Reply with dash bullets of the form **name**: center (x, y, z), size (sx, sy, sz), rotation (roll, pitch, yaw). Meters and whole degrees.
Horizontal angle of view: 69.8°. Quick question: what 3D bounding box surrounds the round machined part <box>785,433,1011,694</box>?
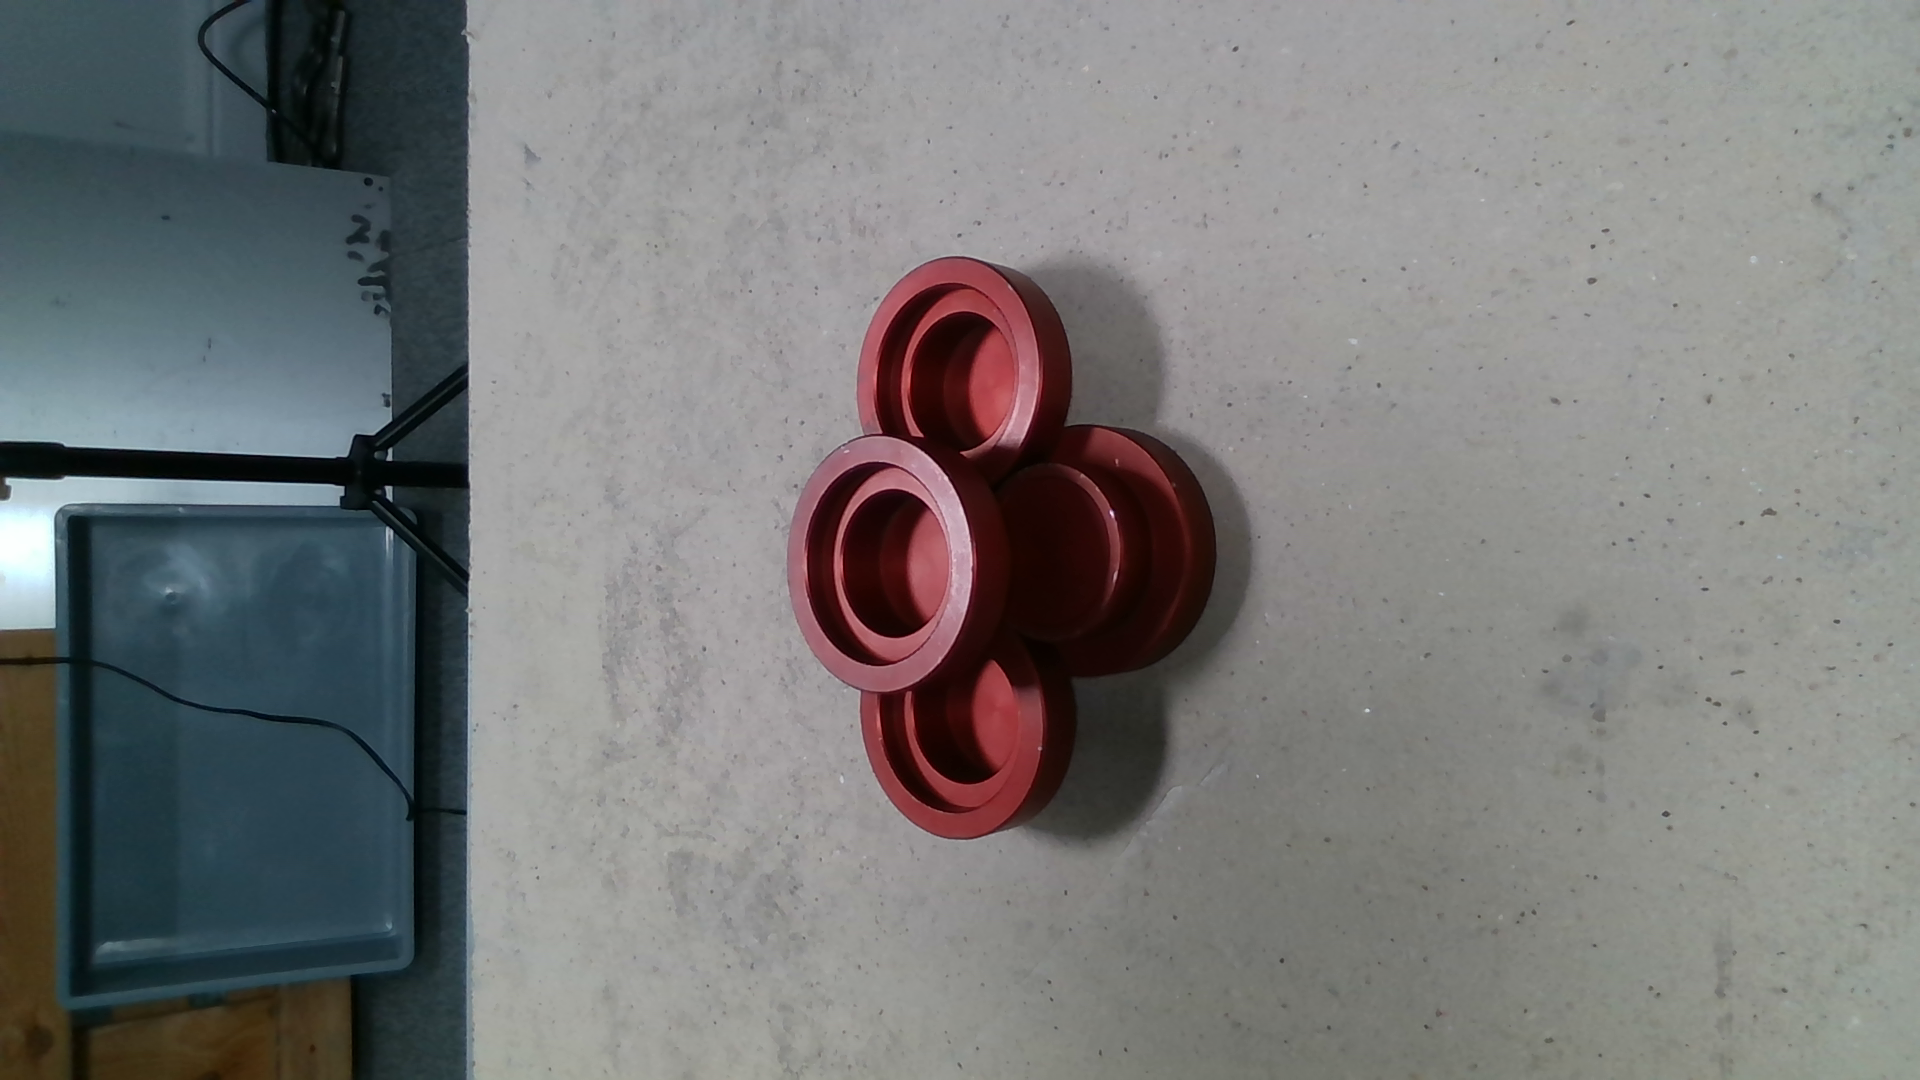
- **round machined part**: center (-0.020, 0.009, 0.532), size (0.098, 0.042, 0.098), rotation (0, 91, 41)

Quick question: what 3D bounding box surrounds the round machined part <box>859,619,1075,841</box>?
- **round machined part**: center (0.008, 0.071, 0.565), size (0.098, 0.042, 0.098), rotation (0, 91, 40)

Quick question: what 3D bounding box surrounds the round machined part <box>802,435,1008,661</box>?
- **round machined part**: center (-0.030, 0.004, 0.596), size (0.098, 0.042, 0.098), rotation (0, 91, 40)

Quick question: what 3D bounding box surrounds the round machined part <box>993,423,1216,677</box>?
- **round machined part**: center (0.046, 0.004, 0.532), size (0.098, 0.042, 0.098), rotation (0, 91, 40)

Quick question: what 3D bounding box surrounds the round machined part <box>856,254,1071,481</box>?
- **round machined part**: center (0.006, -0.065, 0.565), size (0.098, 0.042, 0.098), rotation (0, 91, 40)
